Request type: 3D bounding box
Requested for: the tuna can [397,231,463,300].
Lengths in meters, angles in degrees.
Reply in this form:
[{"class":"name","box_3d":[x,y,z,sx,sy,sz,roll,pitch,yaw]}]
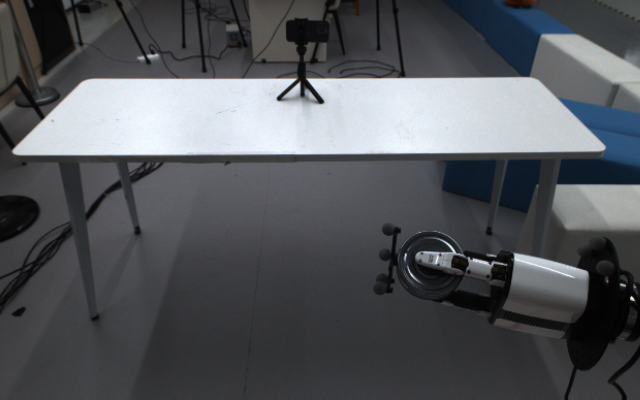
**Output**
[{"class":"tuna can","box_3d":[0.144,0.080,0.619,0.085,0.034,0.085,-2,68,5]}]
